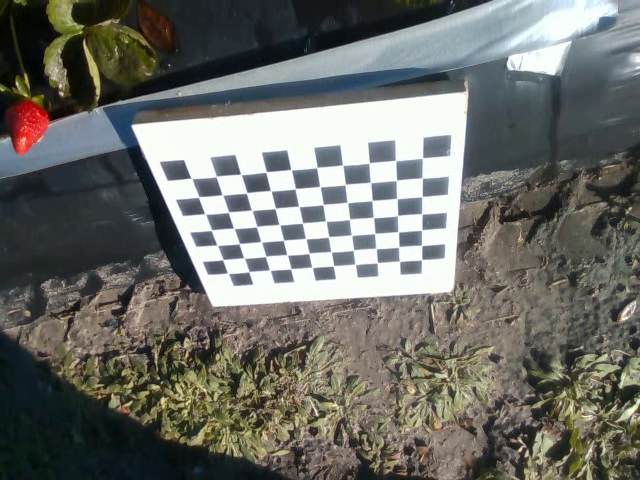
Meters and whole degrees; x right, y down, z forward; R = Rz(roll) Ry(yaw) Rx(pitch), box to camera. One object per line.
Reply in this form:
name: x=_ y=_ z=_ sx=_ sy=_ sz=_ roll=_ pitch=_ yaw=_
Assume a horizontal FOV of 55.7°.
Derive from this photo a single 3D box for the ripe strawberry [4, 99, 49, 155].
ripe strawberry: x=-0.214 y=-0.078 z=0.430 sx=0.036 sy=0.046 sz=0.038 roll=-3 pitch=-27 yaw=10
